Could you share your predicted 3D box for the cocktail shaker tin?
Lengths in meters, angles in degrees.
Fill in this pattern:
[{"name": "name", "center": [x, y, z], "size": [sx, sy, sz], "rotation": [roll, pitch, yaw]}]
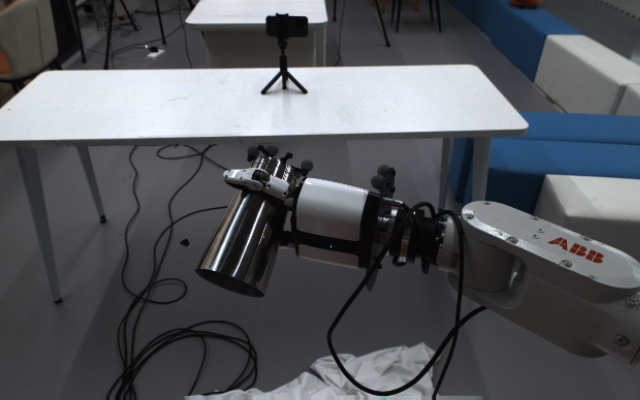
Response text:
[{"name": "cocktail shaker tin", "center": [-0.085, 0.028, 0.634], "size": [0.093, 0.093, 0.170], "rotation": [12, 65, 15]}]
